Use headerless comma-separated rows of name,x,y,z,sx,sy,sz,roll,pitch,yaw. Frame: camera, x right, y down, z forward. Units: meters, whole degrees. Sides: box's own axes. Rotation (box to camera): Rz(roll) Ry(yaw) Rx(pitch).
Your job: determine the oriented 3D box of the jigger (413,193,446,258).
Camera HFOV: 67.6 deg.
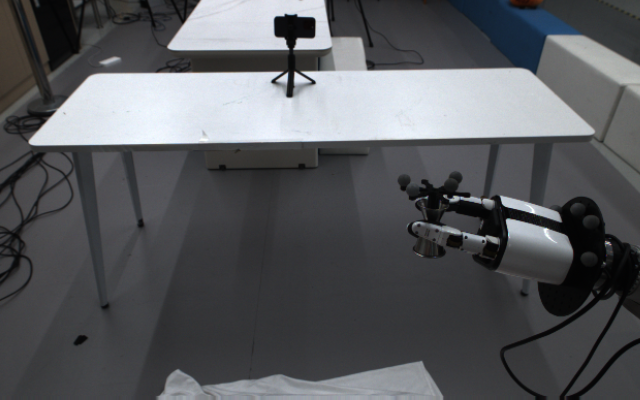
jigger,0.145,0.036,0.638,0.043,0.071,0.043,0,21,0
